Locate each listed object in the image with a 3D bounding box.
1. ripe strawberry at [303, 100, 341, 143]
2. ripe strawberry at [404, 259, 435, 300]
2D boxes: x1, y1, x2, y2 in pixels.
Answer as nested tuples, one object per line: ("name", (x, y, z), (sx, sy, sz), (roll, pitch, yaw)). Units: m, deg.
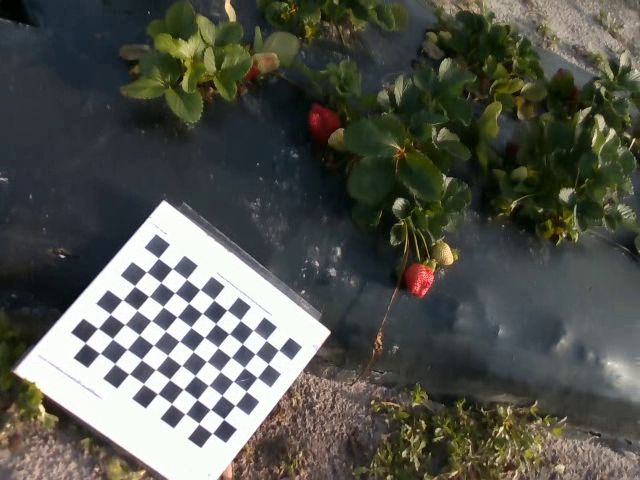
("ripe strawberry", (0.001, -0.190, 0.941), (0.058, 0.071, 0.057), (-42, 35, -11))
("ripe strawberry", (0.148, 0.063, 0.880), (0.047, 0.050, 0.034), (19, -9, -13))
